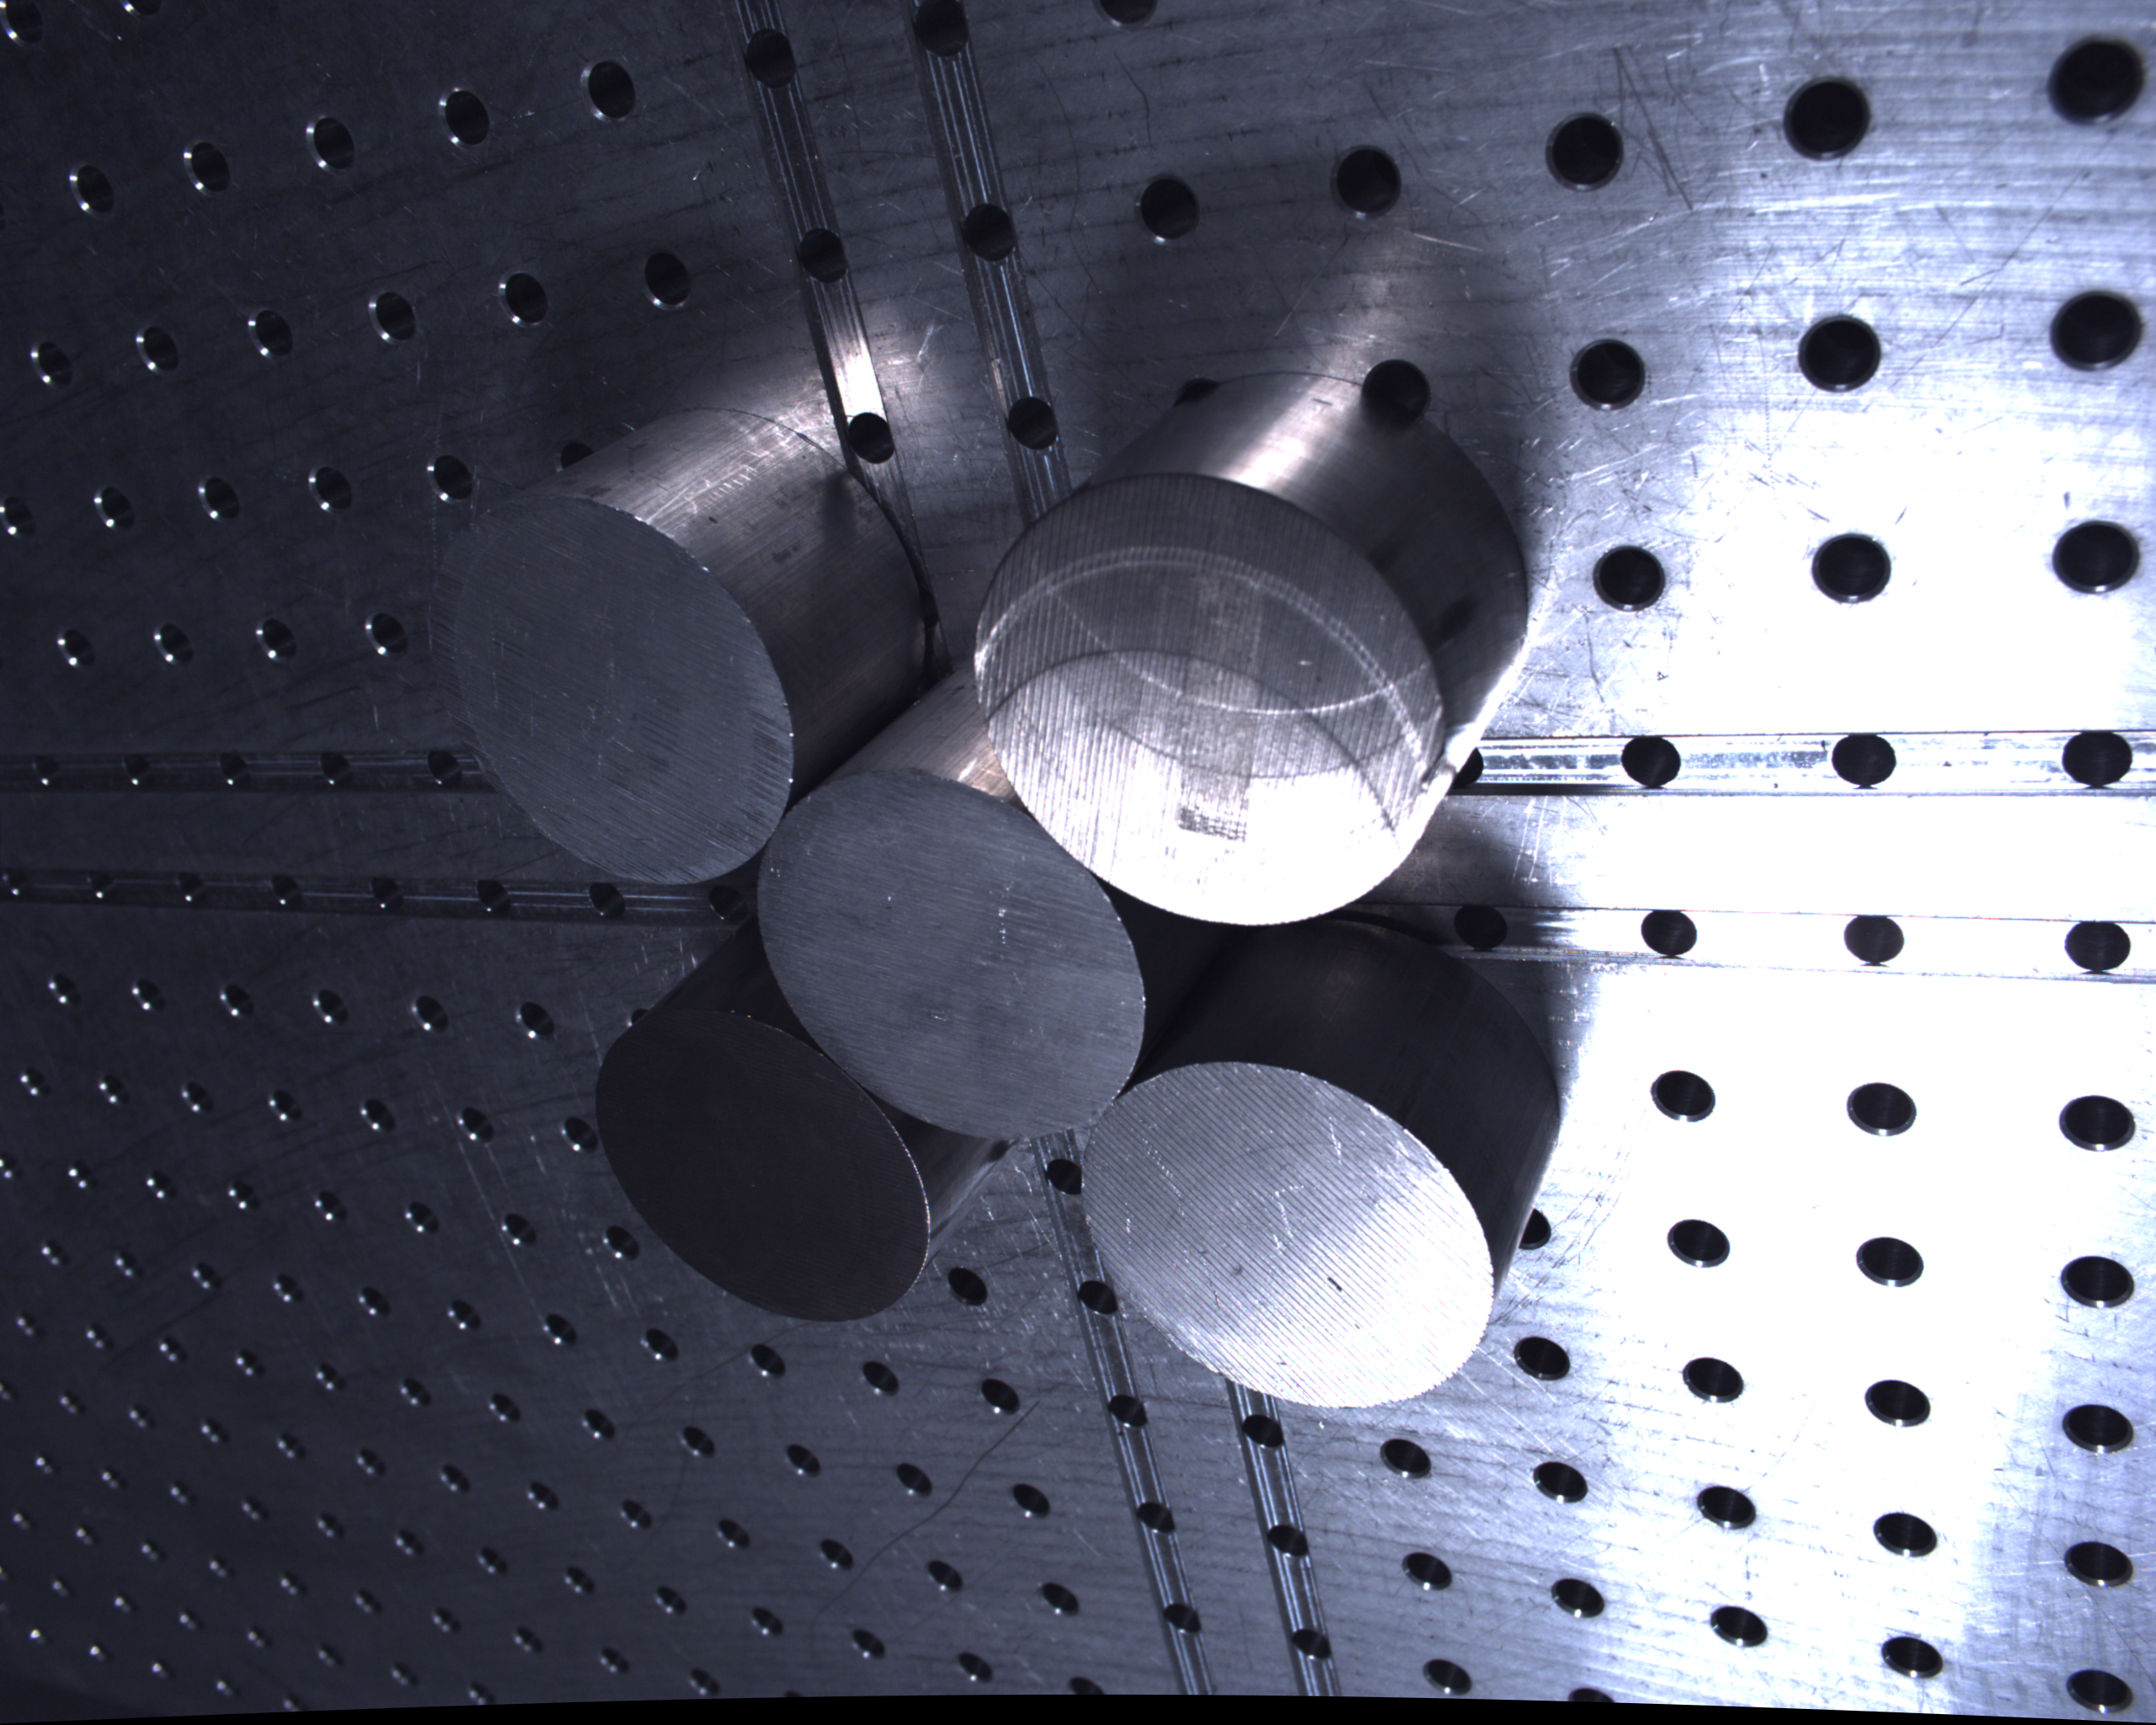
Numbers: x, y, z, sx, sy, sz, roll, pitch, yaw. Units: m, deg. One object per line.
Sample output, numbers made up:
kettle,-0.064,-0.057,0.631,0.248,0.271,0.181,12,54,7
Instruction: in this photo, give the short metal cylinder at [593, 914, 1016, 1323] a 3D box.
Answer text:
short metal cylinder,-0.057,0.053,0.455,0.080,0.050,0.079,13,124,20

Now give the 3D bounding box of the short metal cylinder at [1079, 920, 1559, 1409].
short metal cylinder,0.047,0.058,0.404,0.080,0.050,0.079,13,124,20

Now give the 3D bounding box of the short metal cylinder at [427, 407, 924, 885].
short metal cylinder,-0.078,-0.042,0.407,0.080,0.050,0.079,13,124,20

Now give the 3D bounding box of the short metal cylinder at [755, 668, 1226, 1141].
short metal cylinder,-0.015,0.007,0.405,0.080,0.050,0.079,13,124,20

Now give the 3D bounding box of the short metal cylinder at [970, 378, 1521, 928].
short metal cylinder,0.029,-0.036,0.354,0.080,0.050,0.079,13,124,20
